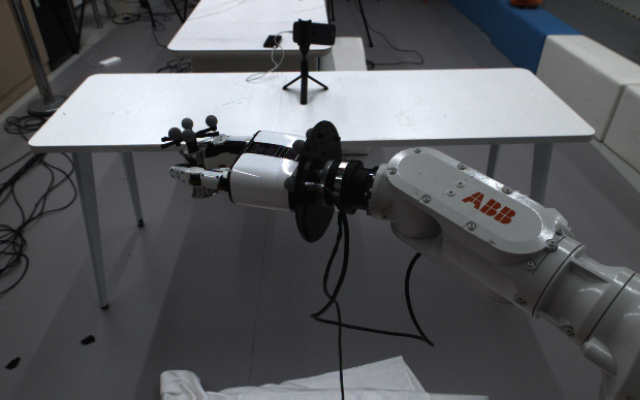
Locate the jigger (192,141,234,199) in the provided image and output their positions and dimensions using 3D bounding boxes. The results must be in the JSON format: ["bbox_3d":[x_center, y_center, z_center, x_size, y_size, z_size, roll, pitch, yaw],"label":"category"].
[{"bbox_3d":[-0.168,-0.043,0.691,0.043,0.071,0.043,-10,24,4],"label":"jigger"}]
